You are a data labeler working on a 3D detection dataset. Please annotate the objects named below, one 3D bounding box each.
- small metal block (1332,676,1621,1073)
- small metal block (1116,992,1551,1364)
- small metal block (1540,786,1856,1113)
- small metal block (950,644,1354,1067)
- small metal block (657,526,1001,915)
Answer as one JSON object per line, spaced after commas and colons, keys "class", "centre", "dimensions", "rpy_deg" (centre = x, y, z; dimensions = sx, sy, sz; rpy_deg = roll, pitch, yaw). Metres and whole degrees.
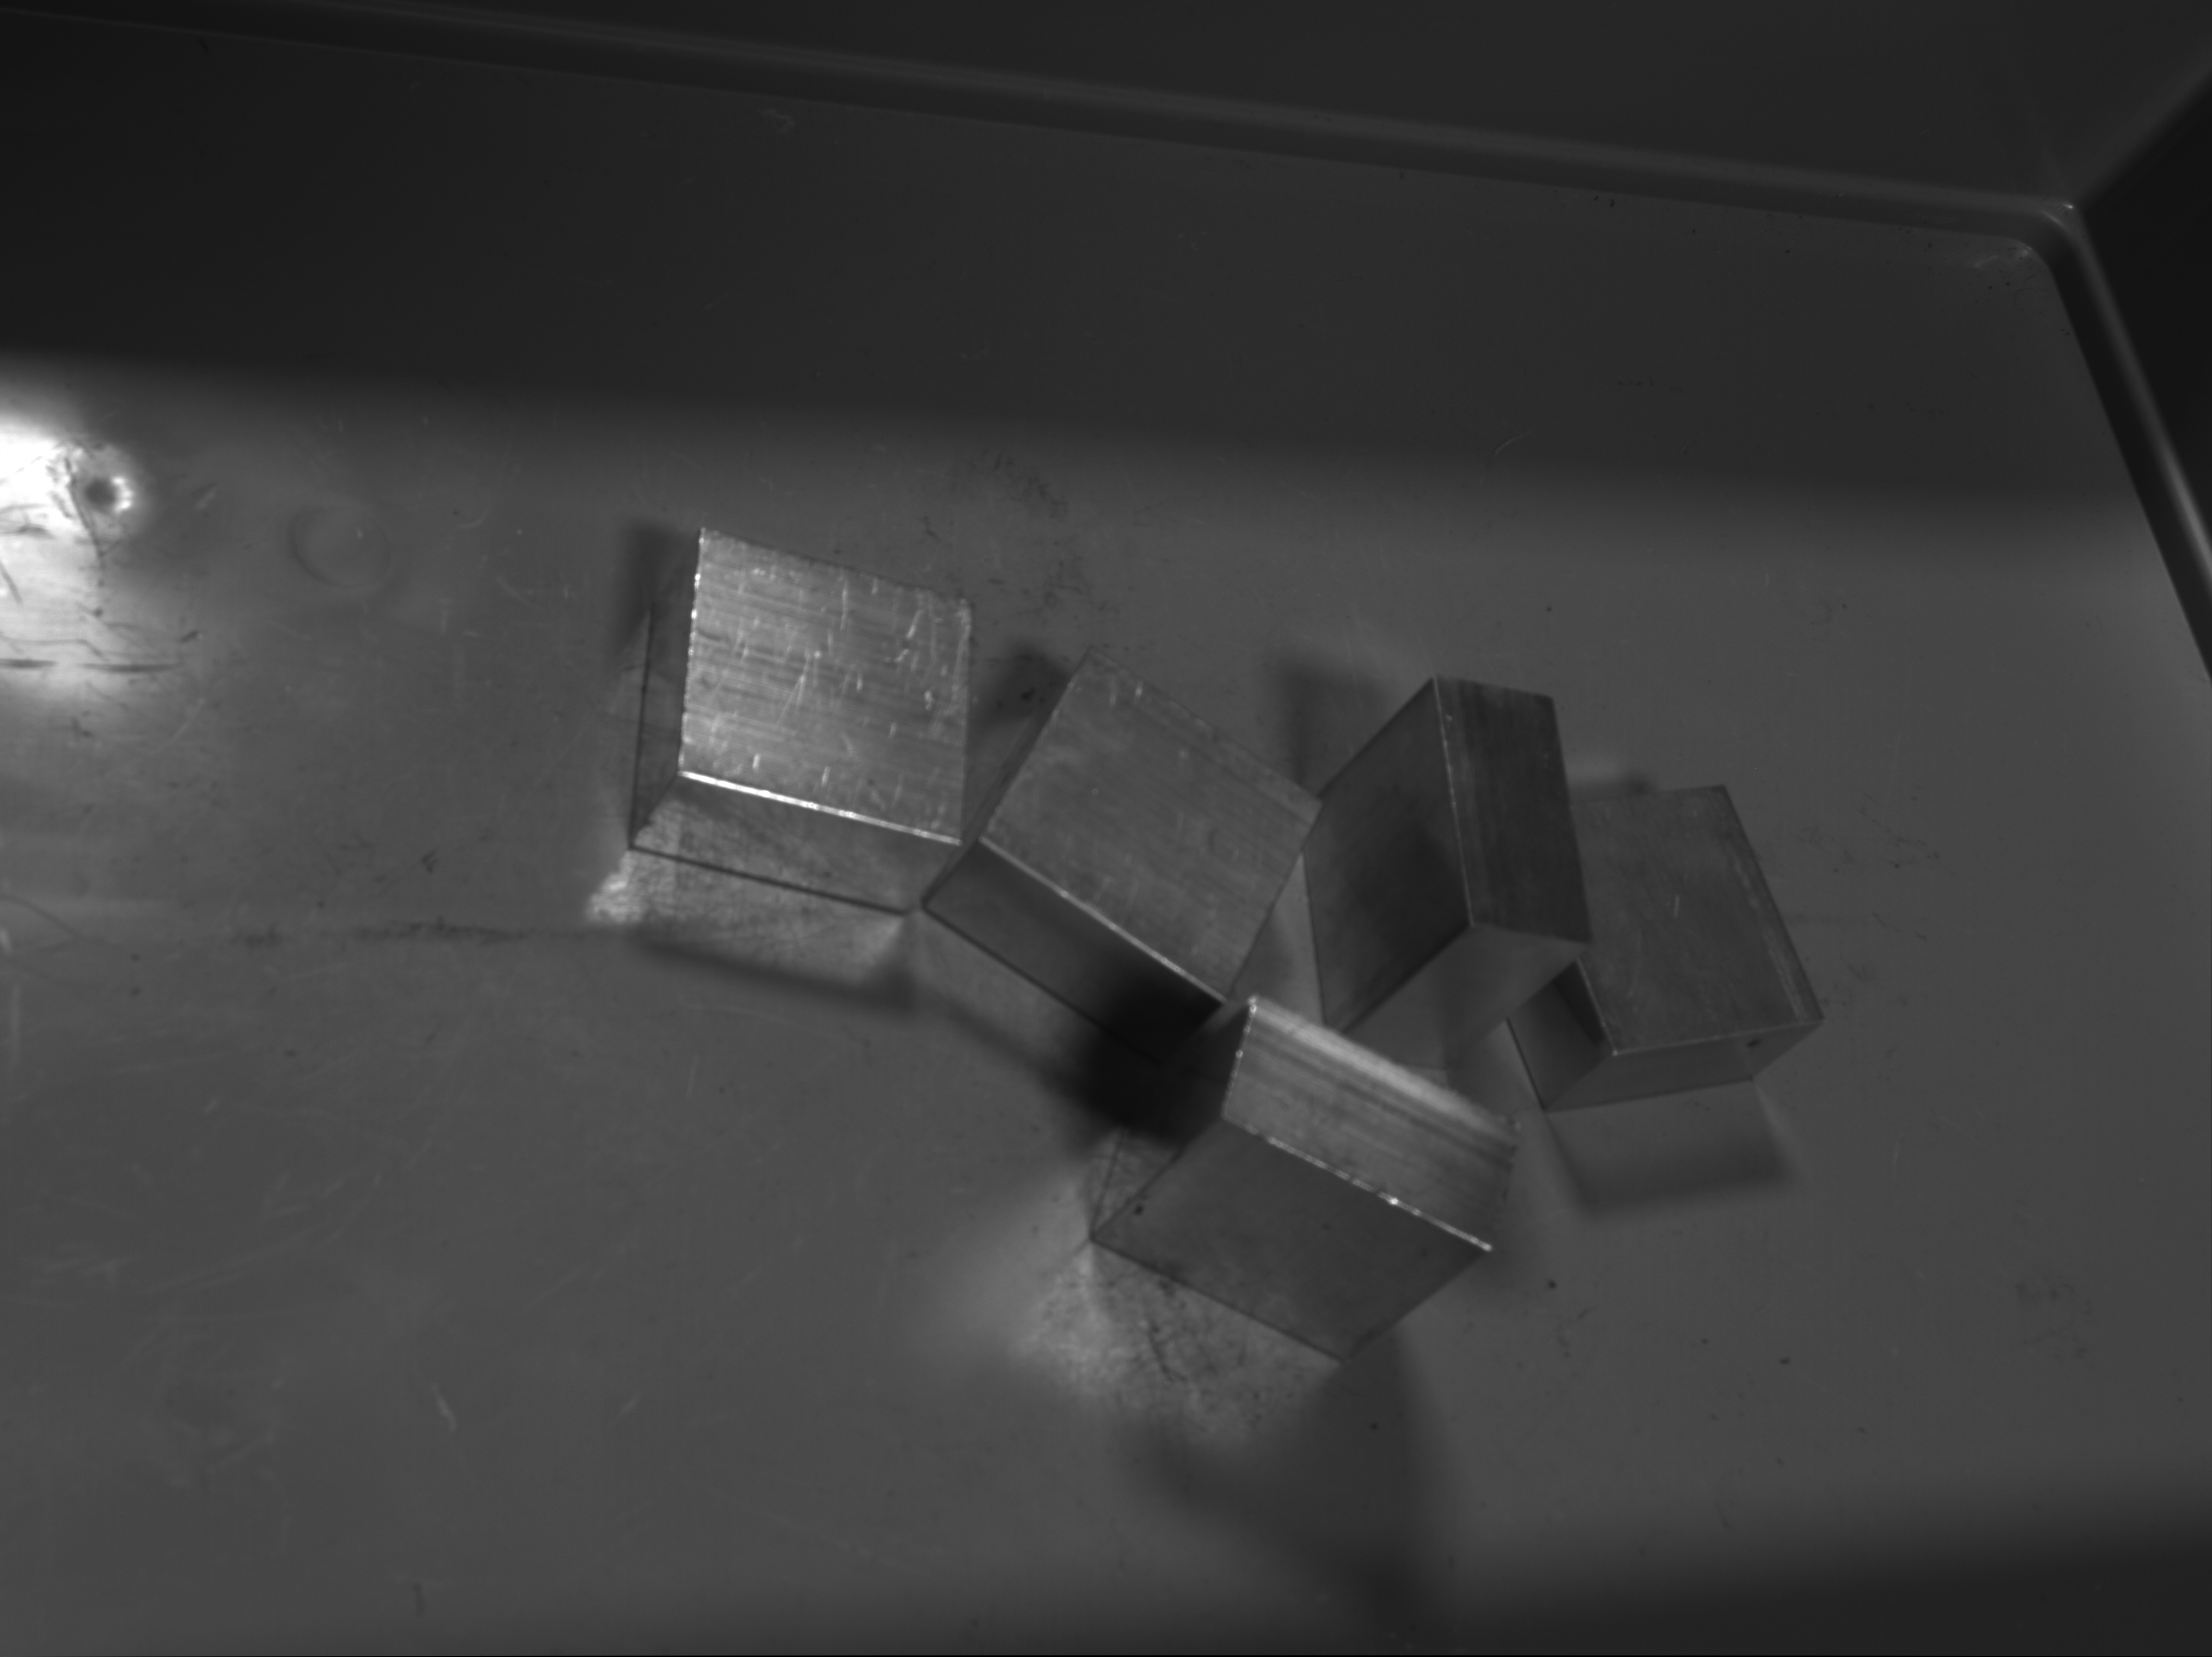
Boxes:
{"class": "small metal block", "centre": [0.064, 0.009, 0.651], "dimensions": [0.025, 0.050, 0.050], "rpy_deg": [9, 57, -24]}
{"class": "small metal block", "centre": [0.037, 0.059, 0.605], "dimensions": [0.050, 0.050, 0.025], "rpy_deg": [28, 53, -12]}
{"class": "small metal block", "centre": [0.104, 0.022, 0.680], "dimensions": [0.050, 0.025, 0.050], "rpy_deg": [-6, 64, -31]}
{"class": "small metal block", "centre": [0.008, 0.004, 0.639], "dimensions": [0.050, 0.025, 0.050], "rpy_deg": [34, 51, -6]}
{"class": "small metal block", "centre": [-0.047, -0.018, 0.623], "dimensions": [0.050, 0.025, 0.050], "rpy_deg": [14, 56, -20]}
